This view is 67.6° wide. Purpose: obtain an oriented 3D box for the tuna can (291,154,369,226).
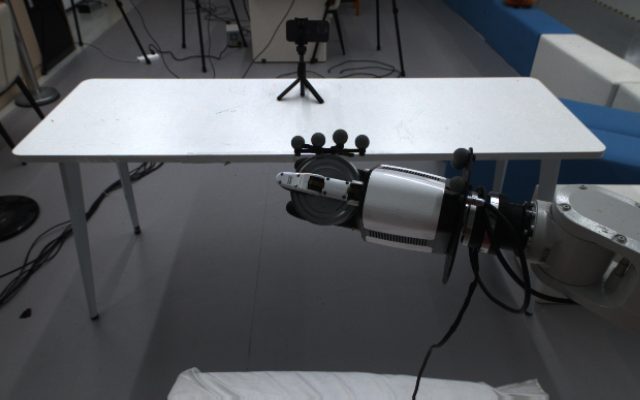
[{"bbox_3d":[0.012,-0.007,0.582,0.085,0.085,0.034,12,0,14],"label":"tuna can"}]
